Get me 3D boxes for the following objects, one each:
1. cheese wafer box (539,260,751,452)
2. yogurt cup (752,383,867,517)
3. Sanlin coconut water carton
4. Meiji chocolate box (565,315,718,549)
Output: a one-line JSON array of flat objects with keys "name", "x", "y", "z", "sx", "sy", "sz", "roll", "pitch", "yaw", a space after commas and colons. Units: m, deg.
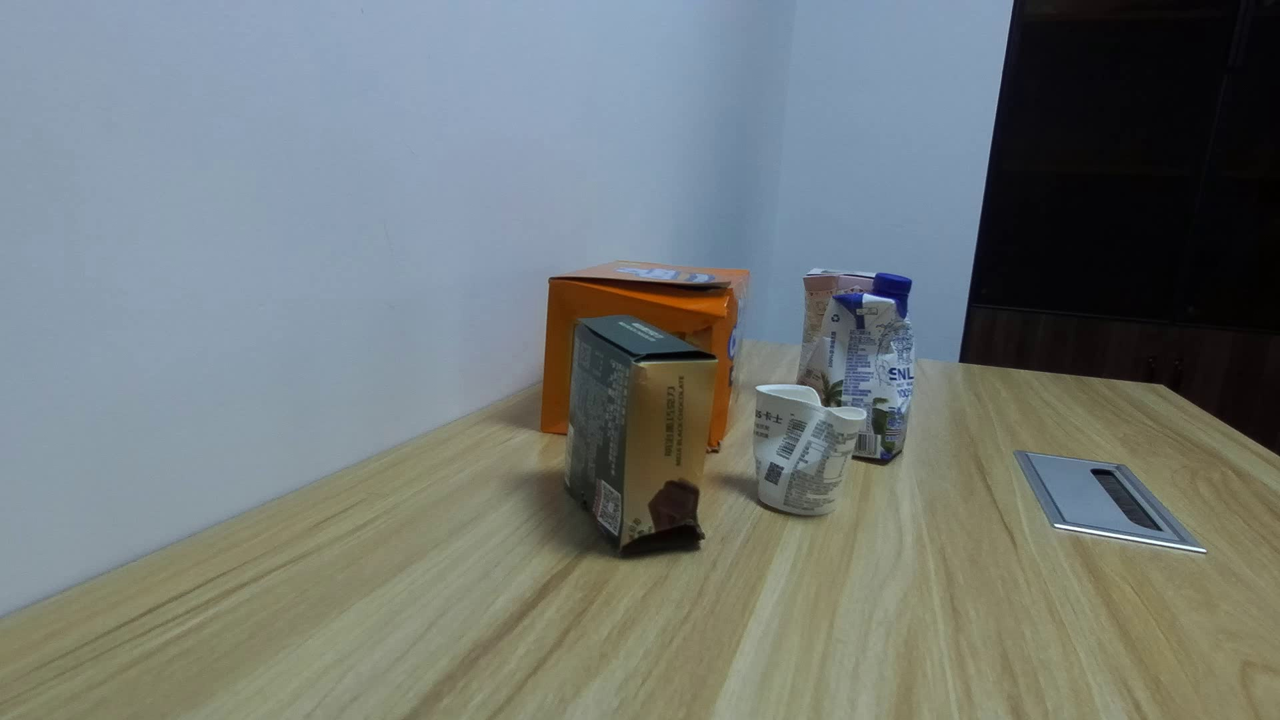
[{"name": "cheese wafer box", "x": 0.017, "y": -0.020, "z": 0.647, "sx": 0.149, "sy": 0.137, "sz": 0.227, "roll": 5, "pitch": 11, "yaw": 11}, {"name": "yogurt cup", "x": 0.105, "y": 0.057, "z": 0.455, "sx": 0.075, "sy": 0.071, "sz": 0.054, "roll": 9, "pitch": 15, "yaw": 26}, {"name": "Sanlin coconut water carton", "x": 0.183, "y": 0.004, "z": 0.569, "sx": 0.068, "sy": 0.144, "sz": 0.057, "roll": 1, "pitch": 1, "yaw": 29}, {"name": "Meiji chocolate box", "x": -0.005, "y": 0.038, "z": 0.419, "sx": 0.059, "sy": 0.116, "sz": 0.122, "roll": 0, "pitch": 11, "yaw": -22}]
